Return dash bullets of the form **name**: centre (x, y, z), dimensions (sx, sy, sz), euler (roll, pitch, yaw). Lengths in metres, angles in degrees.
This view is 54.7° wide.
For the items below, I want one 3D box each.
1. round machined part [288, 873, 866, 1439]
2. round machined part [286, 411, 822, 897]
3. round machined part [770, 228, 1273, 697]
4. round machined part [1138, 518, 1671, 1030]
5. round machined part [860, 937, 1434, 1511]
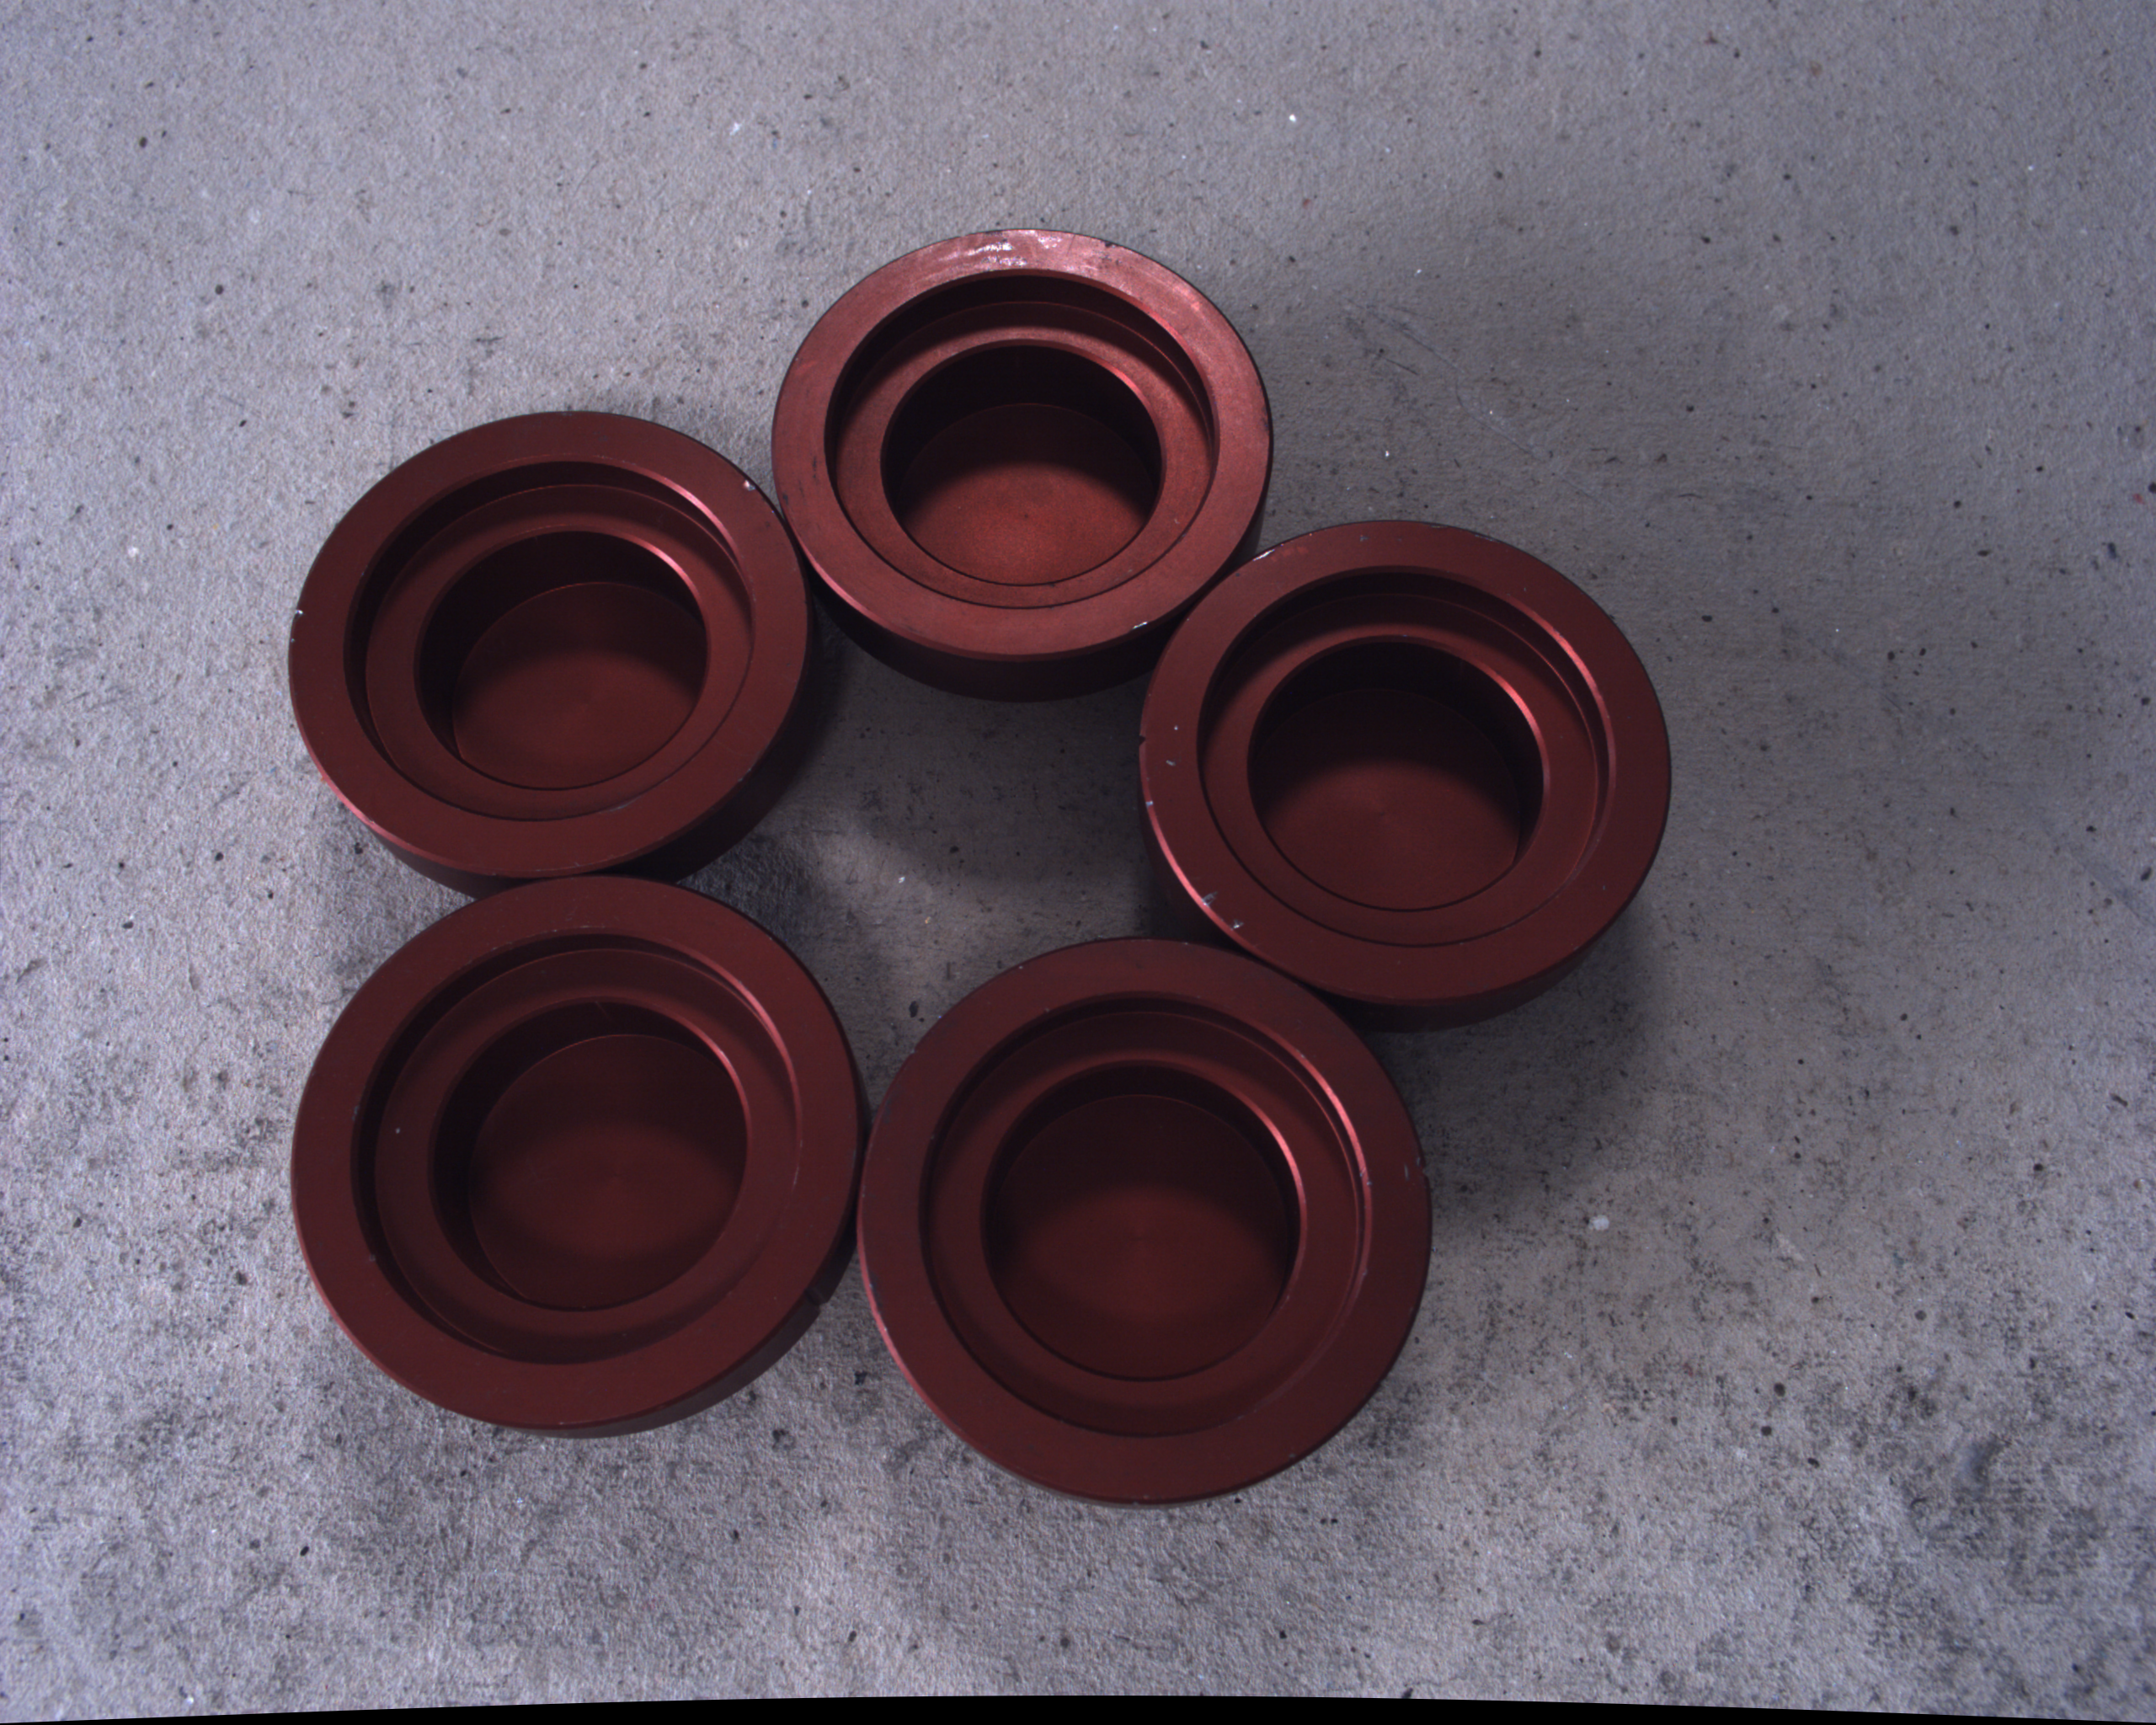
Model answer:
- **round machined part**: centre (-0.087, 0.055, 0.379), dimensions (0.099, 0.042, 0.098), euler (1, 69, -1)
- **round machined part**: centre (-0.100, -0.037, 0.413), dimensions (0.099, 0.042, 0.098), euler (0, 69, 0)
- **round machined part**: centre (-0.011, -0.077, 0.427), dimensions (0.099, 0.042, 0.098), euler (1, 69, -1)
- **round machined part**: centre (0.060, -0.014, 0.405), dimensions (0.099, 0.042, 0.098), euler (1, 69, -1)
- **round machined part**: centre (0.012, 0.066, 0.376), dimensions (0.099, 0.042, 0.098), euler (1, 69, -1)
